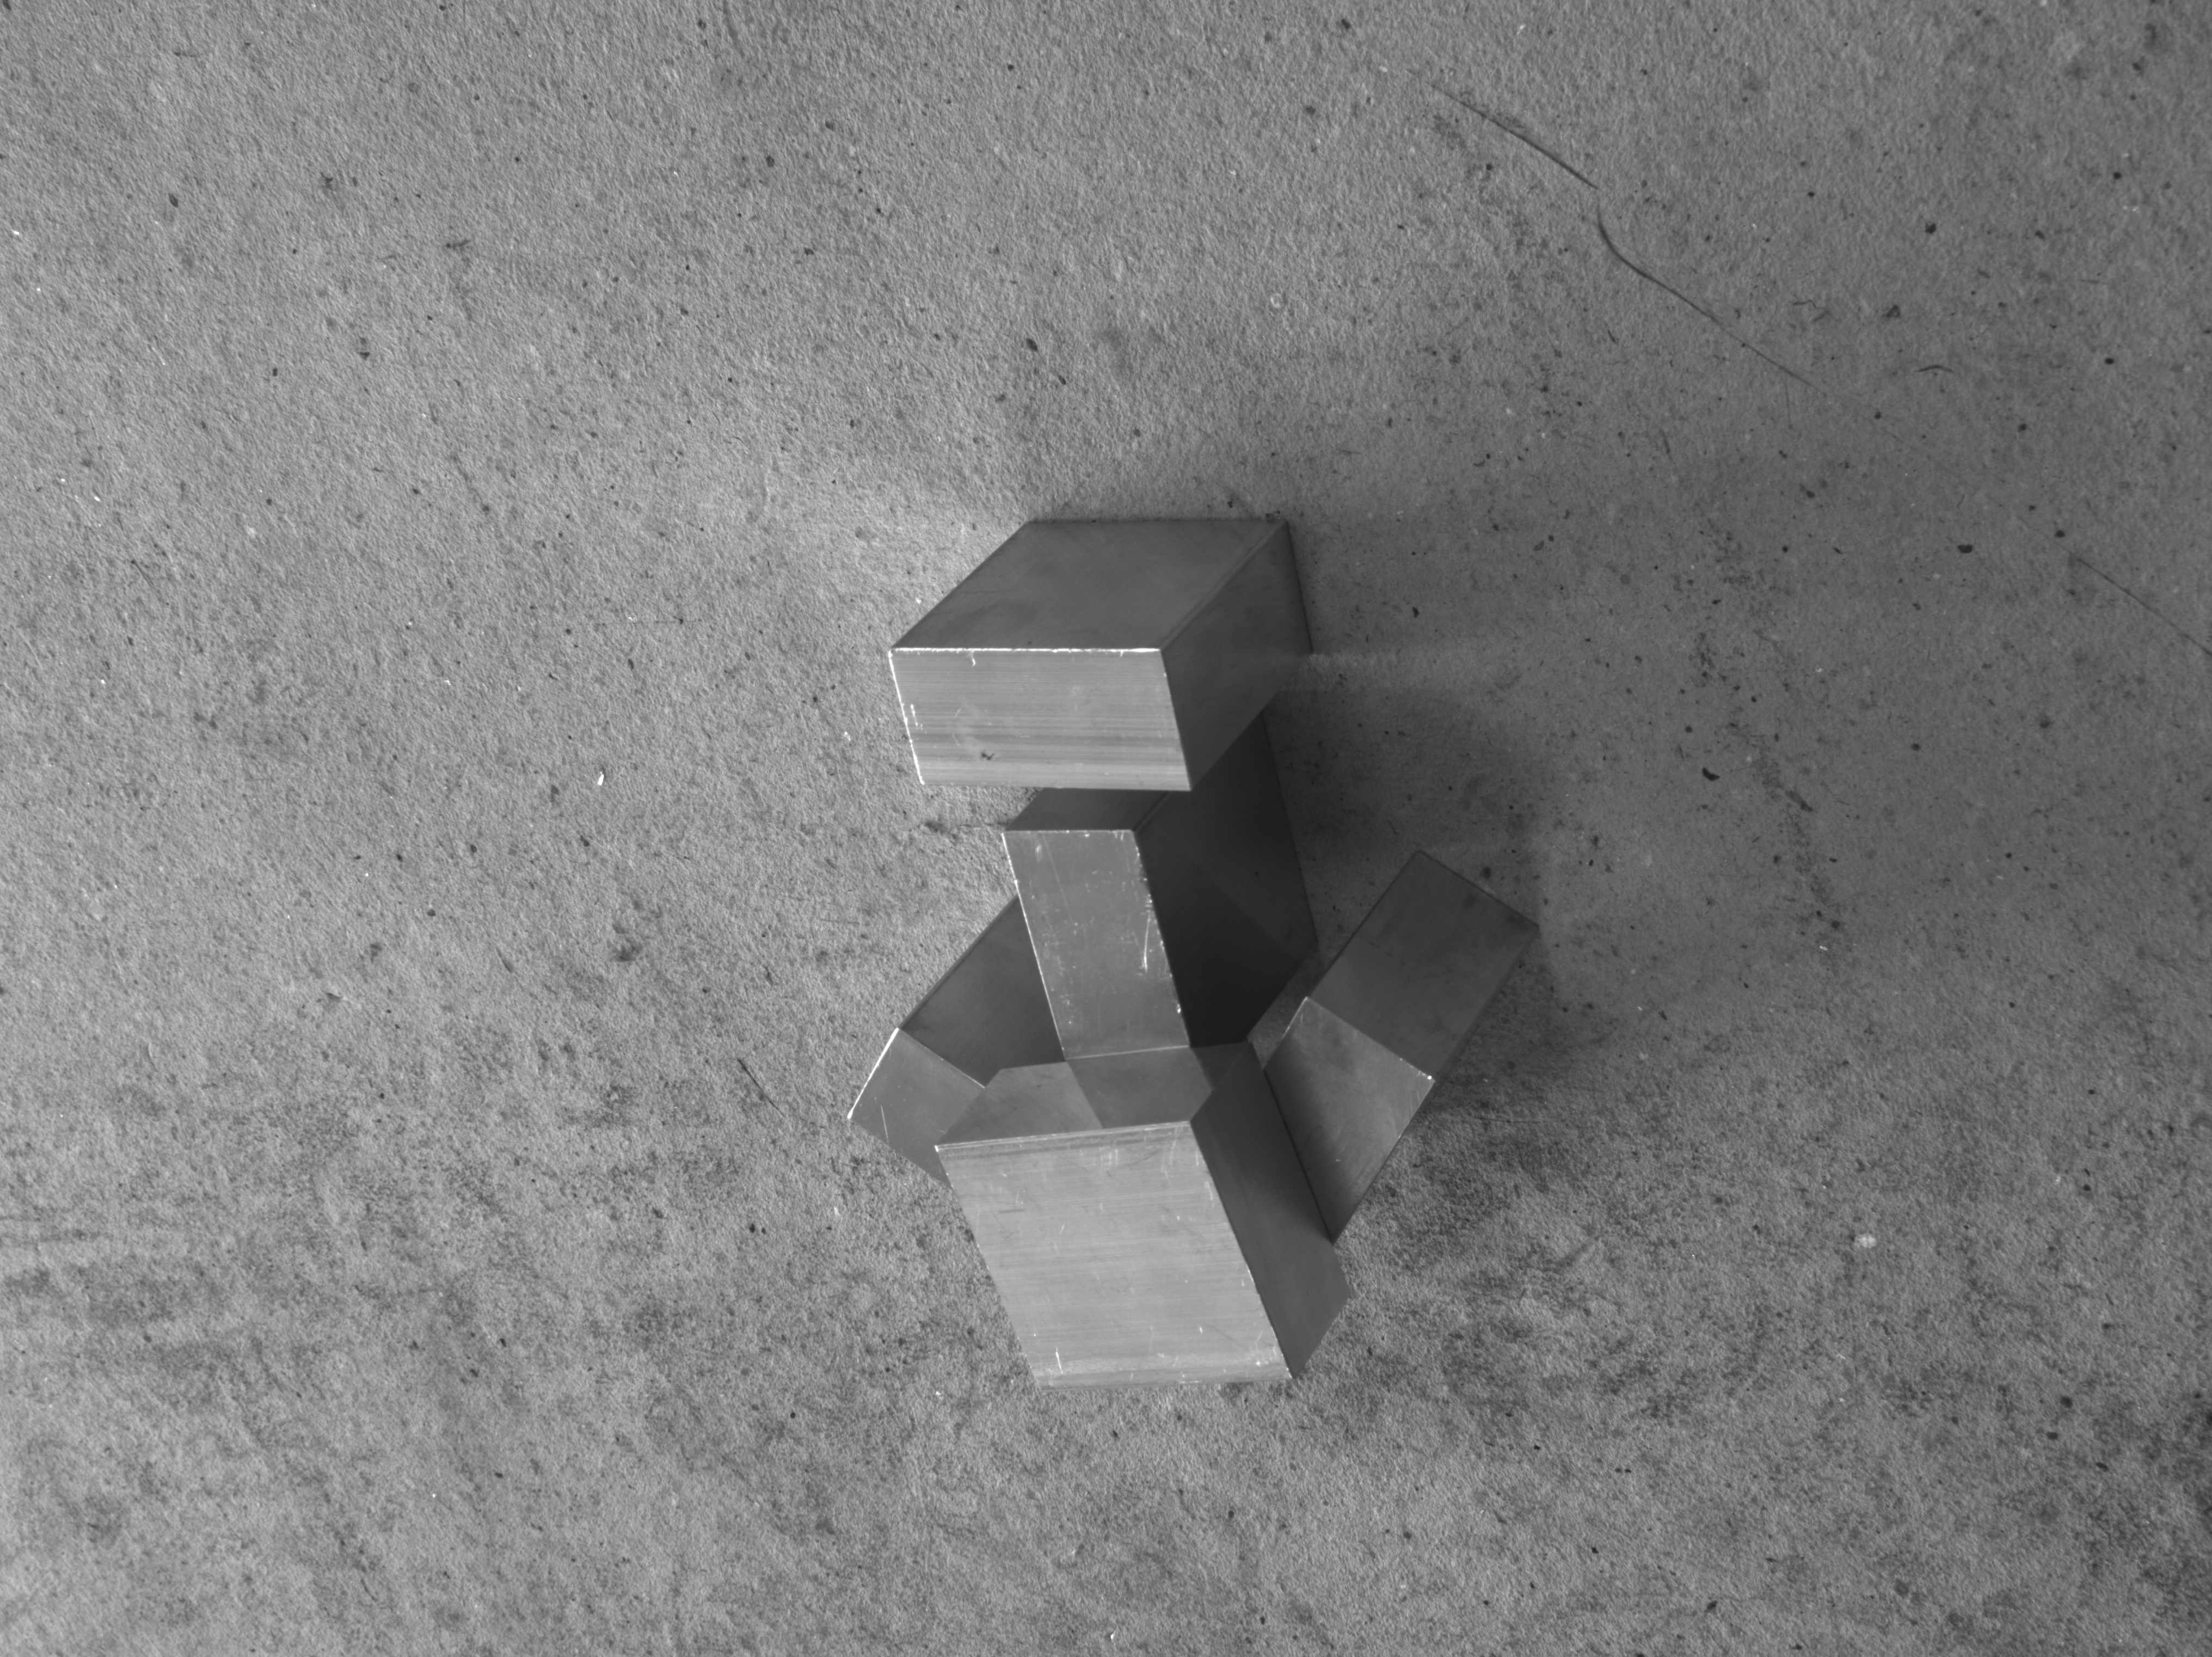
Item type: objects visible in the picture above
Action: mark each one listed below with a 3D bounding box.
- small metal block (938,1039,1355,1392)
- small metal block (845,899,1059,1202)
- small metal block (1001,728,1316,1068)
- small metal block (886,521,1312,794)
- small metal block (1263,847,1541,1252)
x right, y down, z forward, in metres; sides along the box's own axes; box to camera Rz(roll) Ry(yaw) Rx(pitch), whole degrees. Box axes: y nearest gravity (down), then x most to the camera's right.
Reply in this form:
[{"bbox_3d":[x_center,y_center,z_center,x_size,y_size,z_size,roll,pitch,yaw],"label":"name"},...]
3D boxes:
[{"bbox_3d":[0.007,0.065,0.615,0.050,0.025,0.050,-8,114,32],"label":"small metal block"},{"bbox_3d":[-0.010,0.046,0.659,0.050,0.050,0.025,34,128,5],"label":"small metal block"},{"bbox_3d":[0.010,0.011,0.629,0.025,0.050,0.050,-1,117,28],"label":"small metal block"},{"bbox_3d":[0.000,-0.029,0.609,0.050,0.050,0.025,2,119,27],"label":"small metal block"},{"bbox_3d":[0.045,0.039,0.627,0.025,0.050,0.050,32,129,8],"label":"small metal block"}]
